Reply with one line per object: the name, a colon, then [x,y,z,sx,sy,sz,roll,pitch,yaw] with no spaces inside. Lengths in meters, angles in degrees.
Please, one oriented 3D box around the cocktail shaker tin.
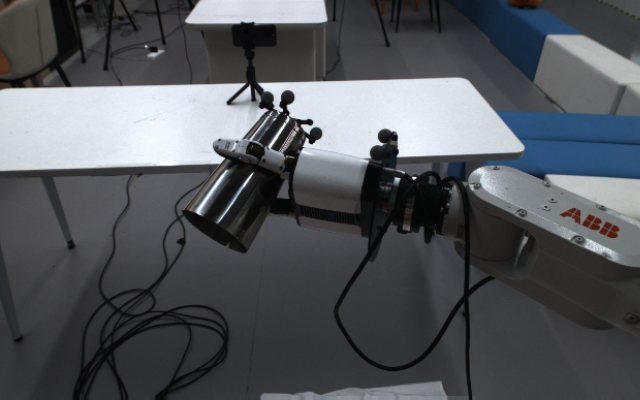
cocktail shaker tin: [-0.085,-0.032,0.613,0.093,0.093,0.170,20,67,24]
